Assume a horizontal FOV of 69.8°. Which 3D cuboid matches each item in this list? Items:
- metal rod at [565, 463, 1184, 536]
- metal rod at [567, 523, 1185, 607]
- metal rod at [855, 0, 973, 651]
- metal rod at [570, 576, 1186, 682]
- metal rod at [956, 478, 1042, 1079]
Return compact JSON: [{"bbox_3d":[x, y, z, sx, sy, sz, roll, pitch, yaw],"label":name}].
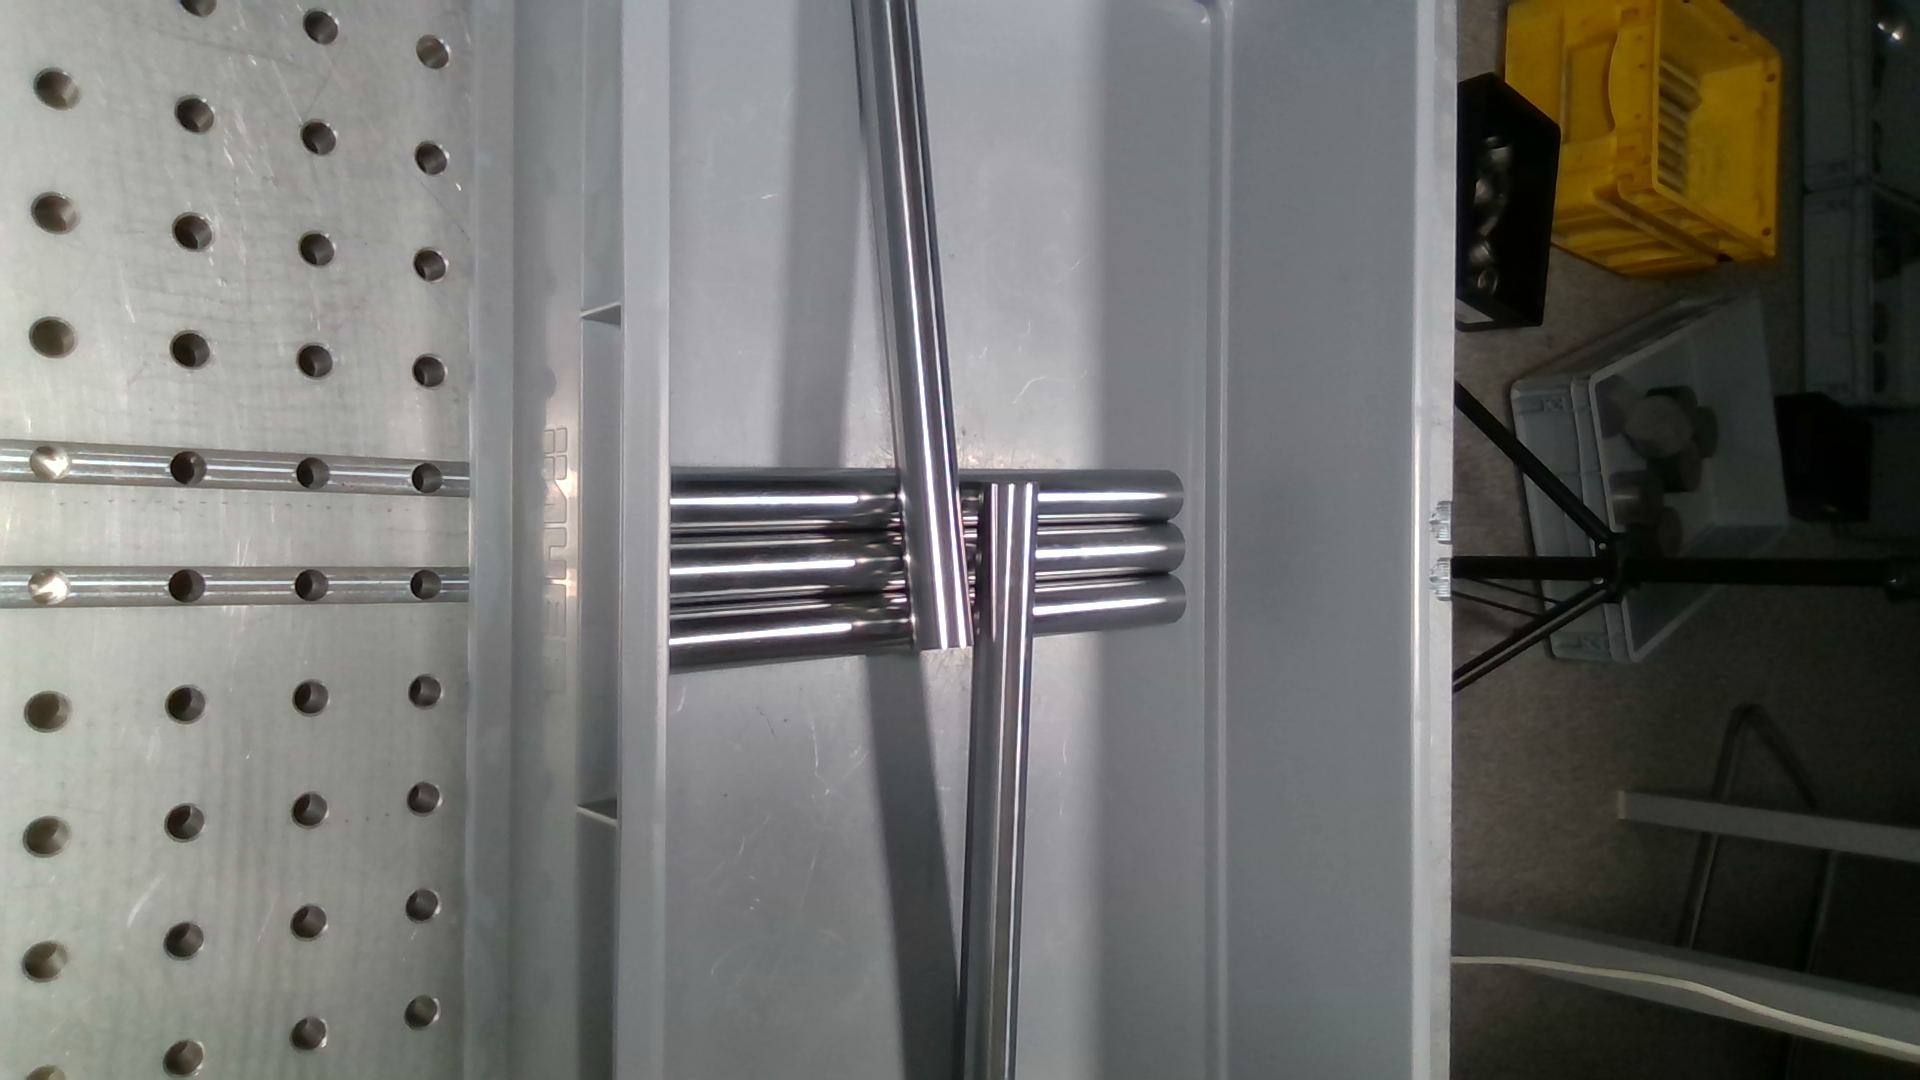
[{"bbox_3d":[-0.016,-0.018,0.569,0.300,0.025,0.025,-2,91,-40],"label":"metal rod"},{"bbox_3d":[-0.015,0.007,0.569,0.300,0.025,0.025,-2,91,-40],"label":"metal rod"},{"bbox_3d":[-0.020,-0.107,0.544,0.025,0.025,0.300,-2,85,-40],"label":"metal rod"},{"bbox_3d":[-0.015,0.032,0.570,0.300,0.025,0.025,-2,91,-40],"label":"metal rod"},{"bbox_3d":[0.015,0.124,0.572,0.025,0.025,0.300,-3,98,-40],"label":"metal rod"}]
